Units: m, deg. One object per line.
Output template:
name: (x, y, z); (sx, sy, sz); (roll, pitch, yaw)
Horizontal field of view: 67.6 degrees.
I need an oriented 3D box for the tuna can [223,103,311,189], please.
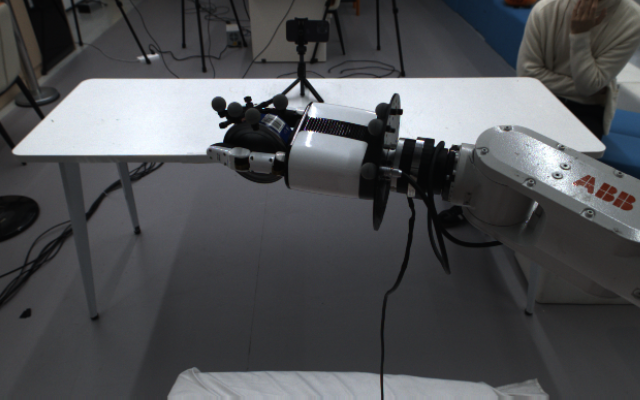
tuna can: (-0.071, -0.064, 0.592); (0.085, 0.085, 0.034); (11, 39, 13)
